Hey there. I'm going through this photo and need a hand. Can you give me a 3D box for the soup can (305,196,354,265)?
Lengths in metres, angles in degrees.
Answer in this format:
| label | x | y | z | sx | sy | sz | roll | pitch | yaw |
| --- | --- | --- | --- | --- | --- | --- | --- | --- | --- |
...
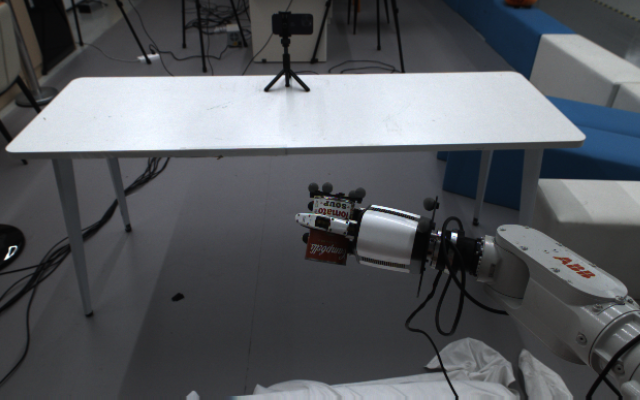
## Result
| label | x | y | z | sx | sy | sz | roll | pitch | yaw |
| --- | --- | --- | --- | --- | --- | --- | --- | --- | --- |
| soup can | 0.016 | 0.049 | 0.770 | 0.067 | 0.101 | 0.067 | 9 | -6 | 1 |
